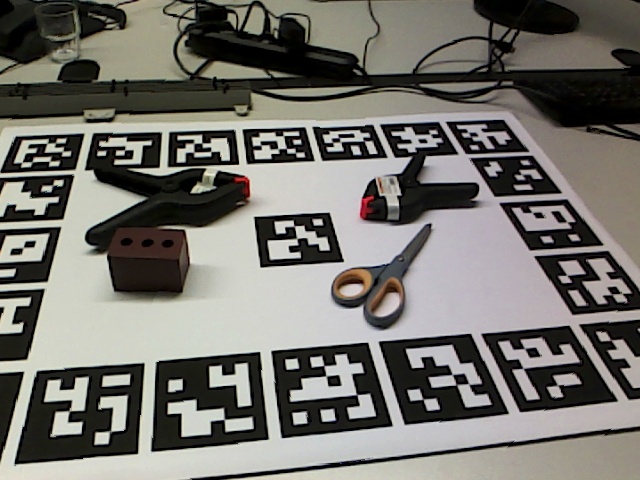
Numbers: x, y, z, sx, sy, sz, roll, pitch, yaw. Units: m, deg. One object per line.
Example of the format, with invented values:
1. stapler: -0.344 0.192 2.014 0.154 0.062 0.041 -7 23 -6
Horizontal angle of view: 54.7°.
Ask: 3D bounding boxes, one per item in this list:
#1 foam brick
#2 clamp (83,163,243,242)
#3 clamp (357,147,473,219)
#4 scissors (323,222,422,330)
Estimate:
1. foam brick: -0.200 0.025 0.714 0.078 0.051 0.053 -2 42 1
2. clamp: -0.204 -0.061 0.823 0.202 0.036 0.166 -6 38 -12
3. clamp: 0.119 -0.071 0.865 0.164 0.036 0.122 -24 54 -28
4. scissors: 0.079 0.029 0.748 0.088 0.016 0.202 28 44 16
